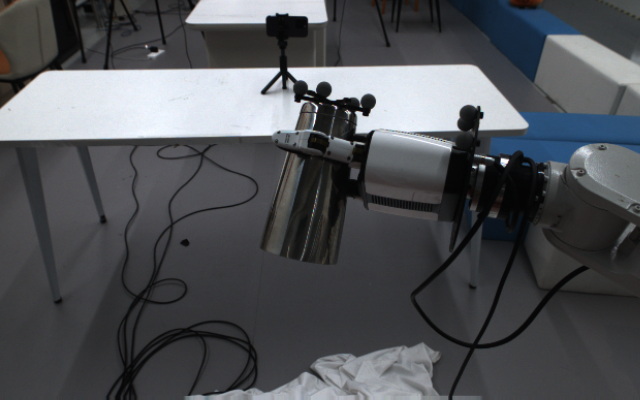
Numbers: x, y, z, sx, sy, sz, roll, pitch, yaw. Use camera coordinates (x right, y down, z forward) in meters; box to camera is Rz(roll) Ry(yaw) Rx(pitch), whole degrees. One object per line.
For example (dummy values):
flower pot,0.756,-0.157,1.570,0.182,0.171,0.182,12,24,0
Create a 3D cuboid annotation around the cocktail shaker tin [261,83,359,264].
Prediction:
cocktail shaker tin,-0.003,-0.022,0.557,0.093,0.170,0.093,13,1,0
